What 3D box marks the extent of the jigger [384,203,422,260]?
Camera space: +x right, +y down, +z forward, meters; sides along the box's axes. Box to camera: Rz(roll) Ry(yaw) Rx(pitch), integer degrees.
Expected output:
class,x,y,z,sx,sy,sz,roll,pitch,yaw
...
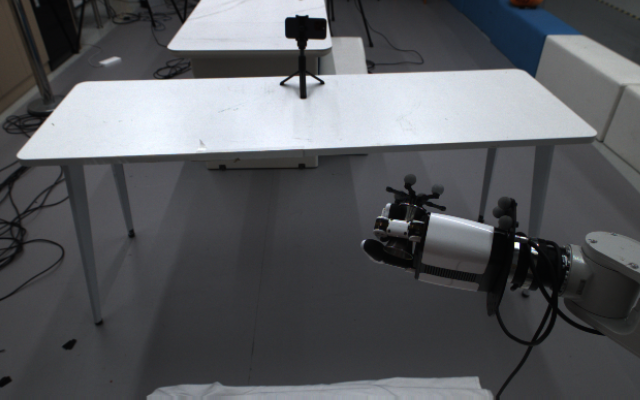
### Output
class,x,y,z,sx,sy,sz,roll,pitch,yaw
jigger,0.119,0.040,0.675,0.043,0.043,0.071,16,70,19
